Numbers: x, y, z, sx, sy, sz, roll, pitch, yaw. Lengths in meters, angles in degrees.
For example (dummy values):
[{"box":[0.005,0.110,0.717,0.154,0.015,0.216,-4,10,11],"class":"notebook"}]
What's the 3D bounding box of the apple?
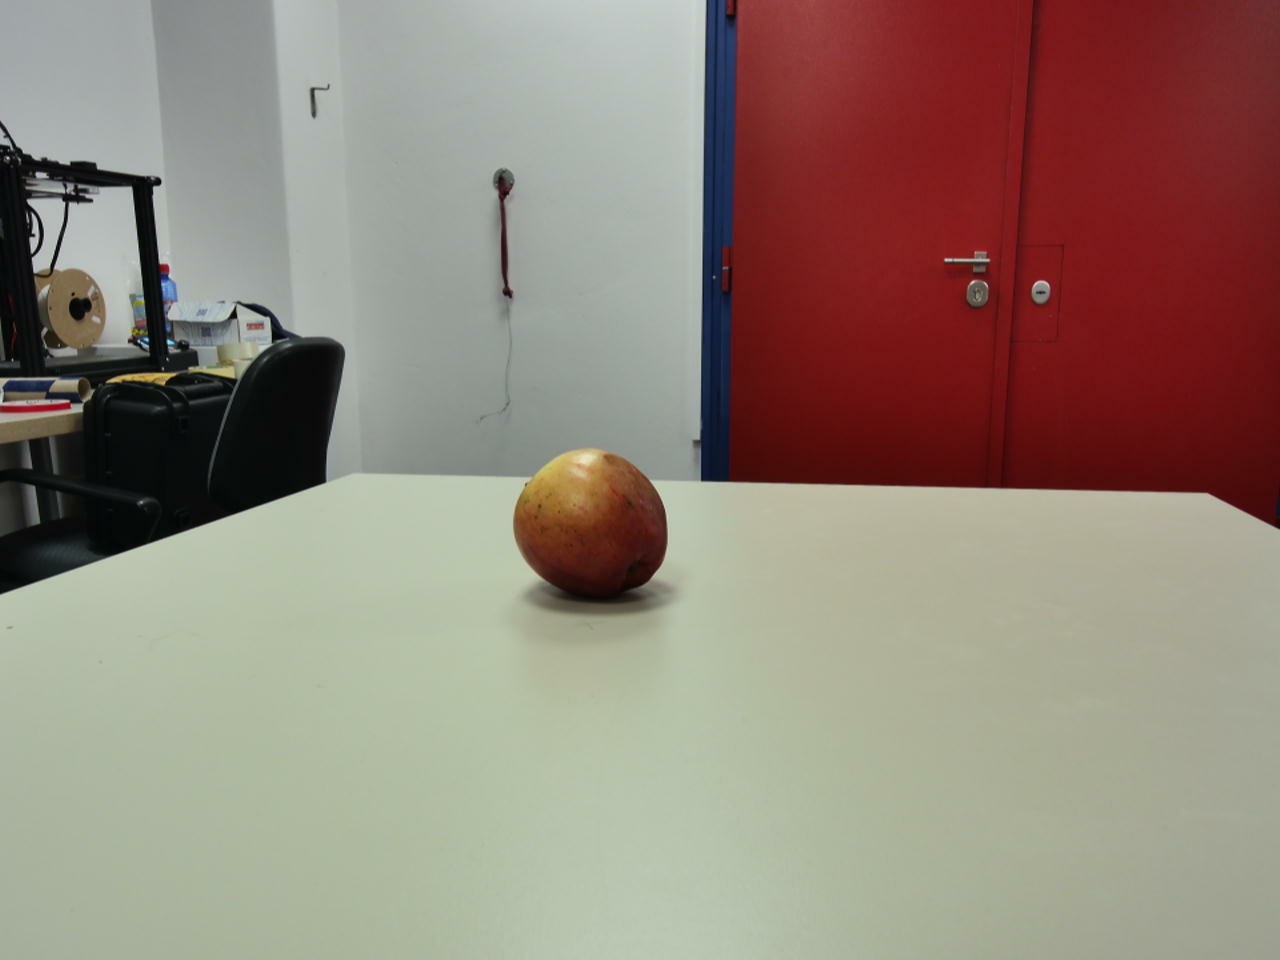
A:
[{"box":[-0.030,0.024,0.586,0.086,0.084,0.093,-5,8,-24],"class":"apple"}]
